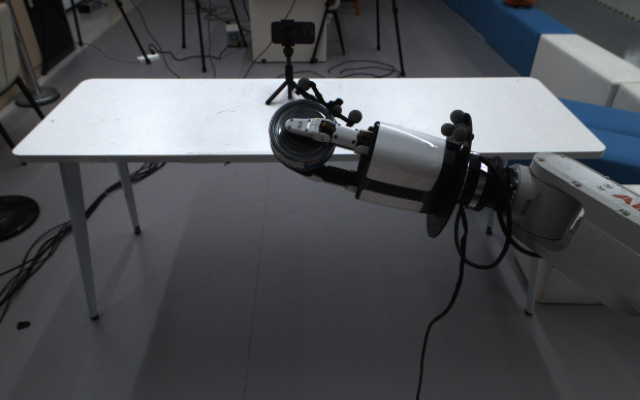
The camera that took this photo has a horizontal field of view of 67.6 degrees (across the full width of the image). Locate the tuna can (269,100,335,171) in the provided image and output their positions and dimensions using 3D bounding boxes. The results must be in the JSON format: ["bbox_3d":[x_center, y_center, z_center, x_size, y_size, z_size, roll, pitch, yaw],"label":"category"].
[{"bbox_3d":[-0.019,-0.083,0.609,0.085,0.034,0.085,0,74,0],"label":"tuna can"}]
